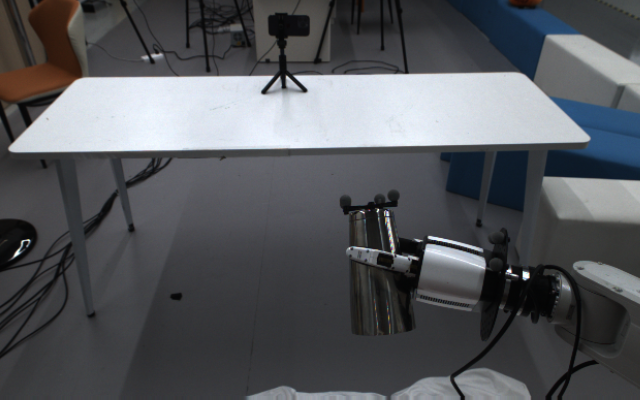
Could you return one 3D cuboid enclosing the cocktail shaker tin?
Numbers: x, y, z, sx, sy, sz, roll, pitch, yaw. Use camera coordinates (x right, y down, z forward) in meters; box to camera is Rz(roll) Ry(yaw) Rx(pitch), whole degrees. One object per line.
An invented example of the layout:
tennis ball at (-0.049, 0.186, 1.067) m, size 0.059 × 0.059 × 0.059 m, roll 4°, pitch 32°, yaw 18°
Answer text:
cocktail shaker tin at (0.083, 0.101, 0.702) m, size 0.093 × 0.170 × 0.093 m, roll -6°, pitch -7°, yaw -1°
